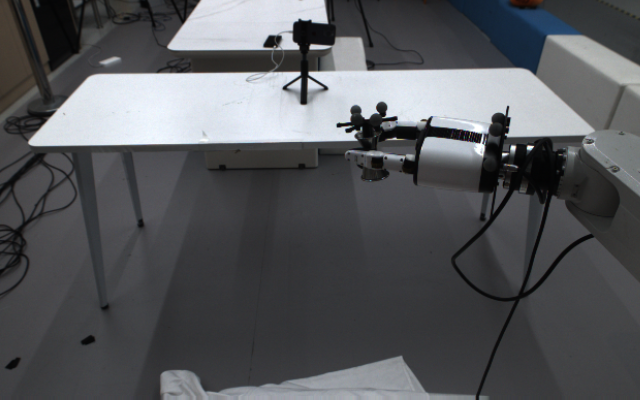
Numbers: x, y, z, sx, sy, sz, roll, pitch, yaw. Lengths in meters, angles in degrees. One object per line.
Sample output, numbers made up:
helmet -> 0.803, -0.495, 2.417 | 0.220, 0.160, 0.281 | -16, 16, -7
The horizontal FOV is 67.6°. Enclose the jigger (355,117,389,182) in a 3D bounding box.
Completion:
jigger -> 0.078, -0.069, 0.724 | 0.043, 0.071, 0.043 | -11, 23, 5
